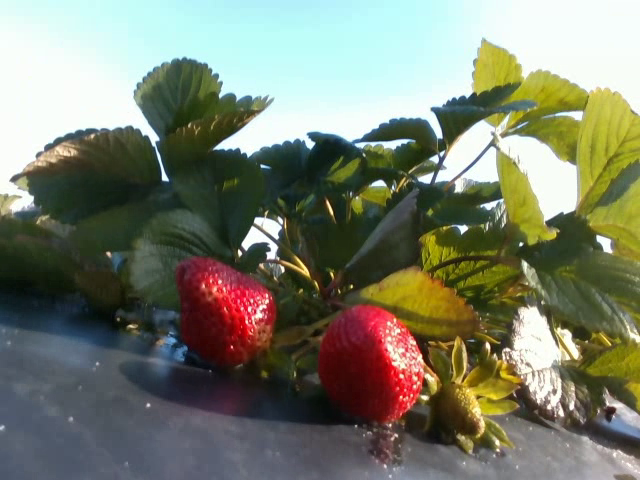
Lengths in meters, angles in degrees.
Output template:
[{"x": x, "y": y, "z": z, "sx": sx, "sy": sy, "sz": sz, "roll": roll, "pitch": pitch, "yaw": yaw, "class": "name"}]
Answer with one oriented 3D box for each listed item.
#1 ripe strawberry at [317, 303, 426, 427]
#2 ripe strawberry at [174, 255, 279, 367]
[{"x": 0.019, "y": 0.038, "z": 0.207, "sx": 0.043, "sy": 0.038, "sz": 0.053, "roll": 34, "pitch": -16, "yaw": 6, "class": "ripe strawberry"}, {"x": -0.038, "y": 0.028, "z": 0.246, "sx": 0.039, "sy": 0.054, "sz": 0.048, "roll": -37, "pitch": 28, "yaw": 14, "class": "ripe strawberry"}]
